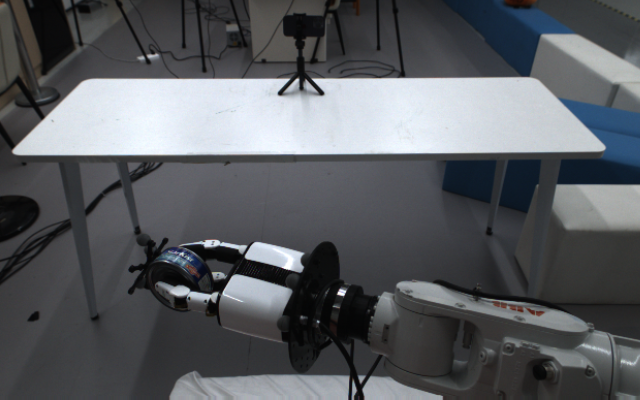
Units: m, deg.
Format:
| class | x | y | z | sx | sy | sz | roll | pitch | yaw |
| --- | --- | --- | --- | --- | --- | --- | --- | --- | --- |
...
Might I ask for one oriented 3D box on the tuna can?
| class | x | y | z | sx | sy | sz | roll | pitch | yaw |
| --- | --- | --- | --- | --- | --- | --- | --- | --- | --- |
| tuna can | -0.185 | 0.110 | 0.641 | 0.085 | 0.085 | 0.034 | 12 | 31 | 15 |
